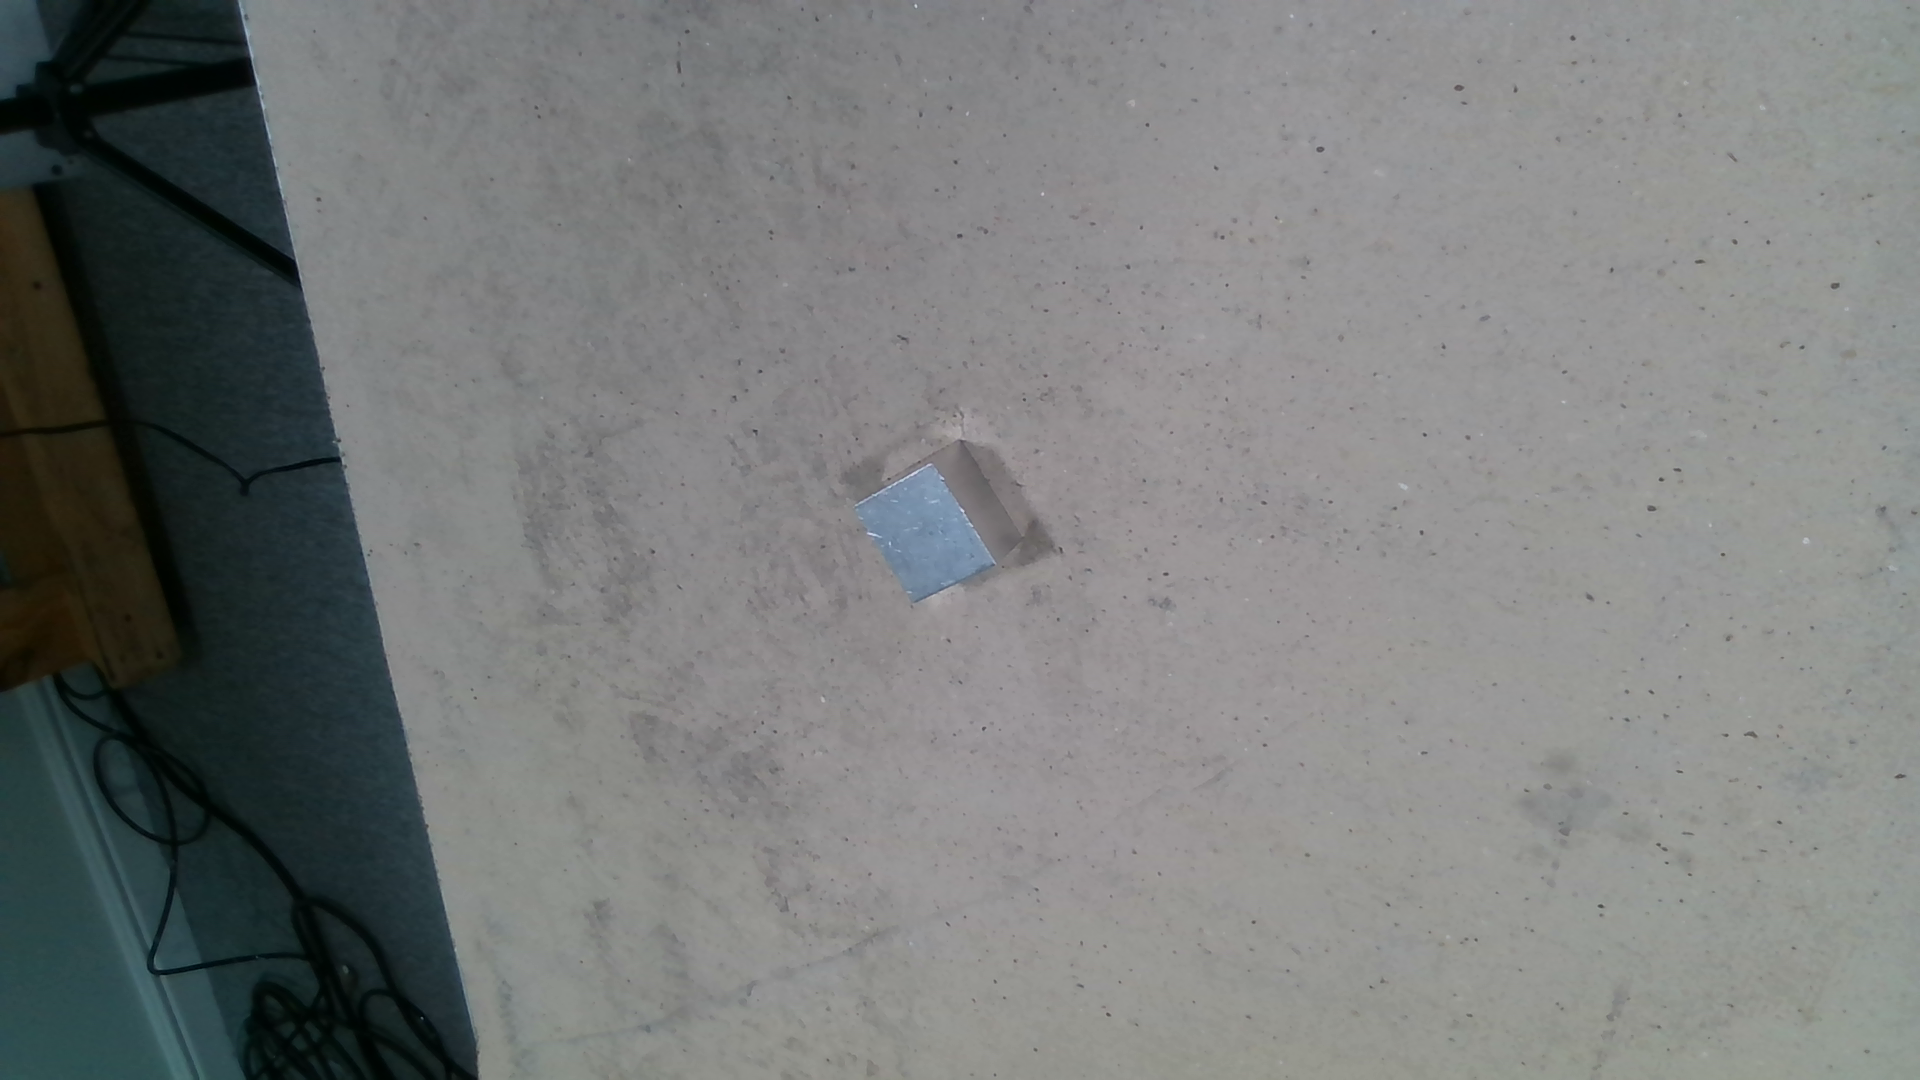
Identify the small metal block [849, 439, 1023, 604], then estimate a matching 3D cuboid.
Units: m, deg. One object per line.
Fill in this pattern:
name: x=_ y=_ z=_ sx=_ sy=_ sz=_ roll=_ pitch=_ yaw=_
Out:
small metal block: x=-0.010 y=-0.007 z=0.583 sx=0.050 sy=0.025 sz=0.050 roll=-26 pitch=100 yaw=38
